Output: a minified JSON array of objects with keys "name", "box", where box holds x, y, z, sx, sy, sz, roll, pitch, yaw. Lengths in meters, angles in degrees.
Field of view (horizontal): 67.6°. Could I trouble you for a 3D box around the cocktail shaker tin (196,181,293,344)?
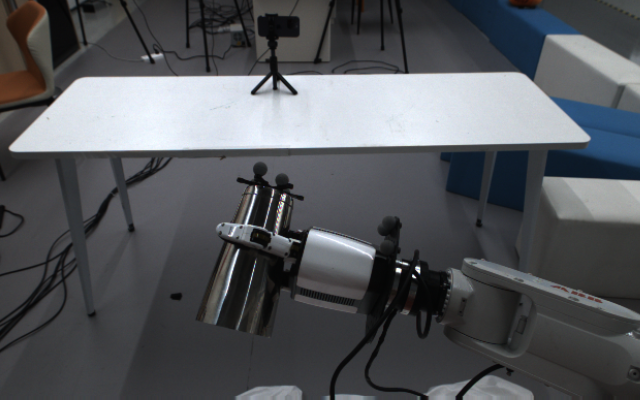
[{"name":"cocktail shaker tin","box":[-0.084,0.074,0.594,0.093,0.093,0.170,11,74,12]}]
